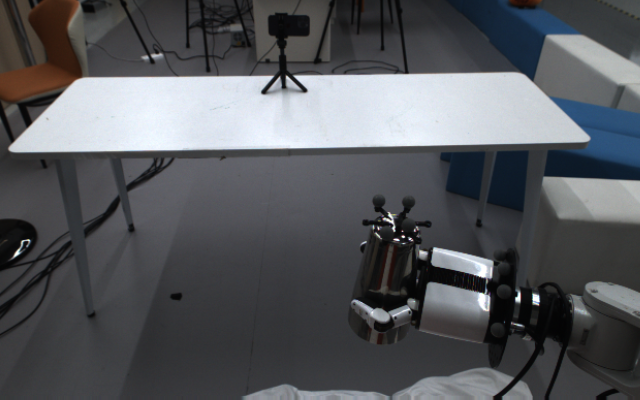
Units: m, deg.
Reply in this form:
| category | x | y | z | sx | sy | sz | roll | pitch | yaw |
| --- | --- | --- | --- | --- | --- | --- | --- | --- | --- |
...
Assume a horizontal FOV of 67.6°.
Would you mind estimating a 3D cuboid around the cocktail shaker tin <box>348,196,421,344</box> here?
| category | x | y | z | sx | sy | sz | roll | pitch | yaw |
| --- | --- | --- | --- | --- | --- | --- | --- | --- | --- |
| cocktail shaker tin | 0.095 | 0.106 | 0.668 | 0.093 | 0.170 | 0.093 | 3 | 34 | -2 |
